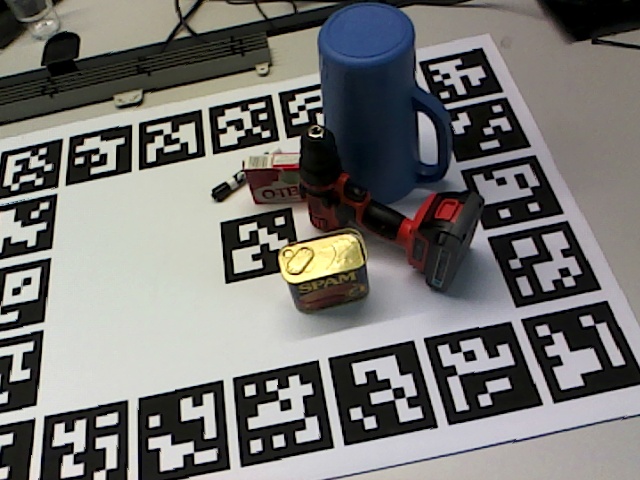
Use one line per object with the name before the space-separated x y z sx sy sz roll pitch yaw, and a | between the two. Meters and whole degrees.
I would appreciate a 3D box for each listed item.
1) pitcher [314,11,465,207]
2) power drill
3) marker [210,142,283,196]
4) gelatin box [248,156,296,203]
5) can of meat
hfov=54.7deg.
pitcher | 0.083 -0.156 0.778 0.190 0.241 0.133 13 64 24
power drill | 0.056 -0.050 0.740 0.188 0.184 0.057 21 66 14
marker | -0.107 -0.102 0.894 0.121 0.019 0.020 -35 60 -13
gelatin box | -0.048 -0.081 0.843 0.089 0.073 0.030 -2 61 6
can of meat | 0.006 0.042 0.744 0.102 0.083 0.058 -13 55 0
